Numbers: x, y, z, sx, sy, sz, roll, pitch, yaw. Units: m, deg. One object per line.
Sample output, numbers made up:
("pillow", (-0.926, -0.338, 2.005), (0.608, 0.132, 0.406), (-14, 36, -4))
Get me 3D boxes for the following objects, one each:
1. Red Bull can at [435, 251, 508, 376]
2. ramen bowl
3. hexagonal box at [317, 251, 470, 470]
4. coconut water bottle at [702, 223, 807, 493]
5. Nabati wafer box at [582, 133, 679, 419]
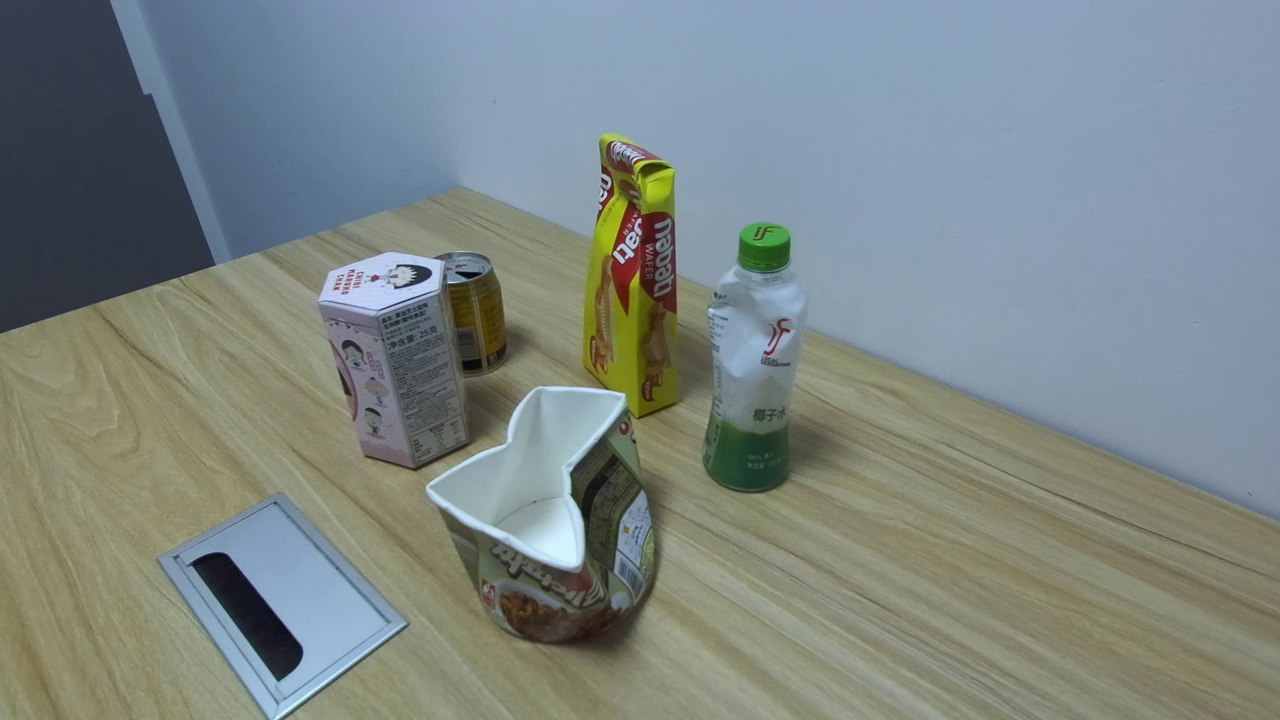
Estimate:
("Red Bull can", (-0.156, -0.041, 0.625), (0.068, 0.093, 0.068), (0, 34, 0))
("ramen bowl", (-0.044, 0.089, 0.425), (0.111, 0.093, 0.128), (17, 40, 24))
("hexagonal box", (-0.176, 0.001, 0.519), (0.084, 0.136, 0.091), (-6, 35, -10))
("coconut water bottle", (0.078, 0.000, 0.470), (0.069, 0.187, 0.069), (0, 35, 0))
("Nabati wafer box", (-0.008, -0.064, 0.551), (0.043, 0.205, 0.113), (-17, 37, -26))
